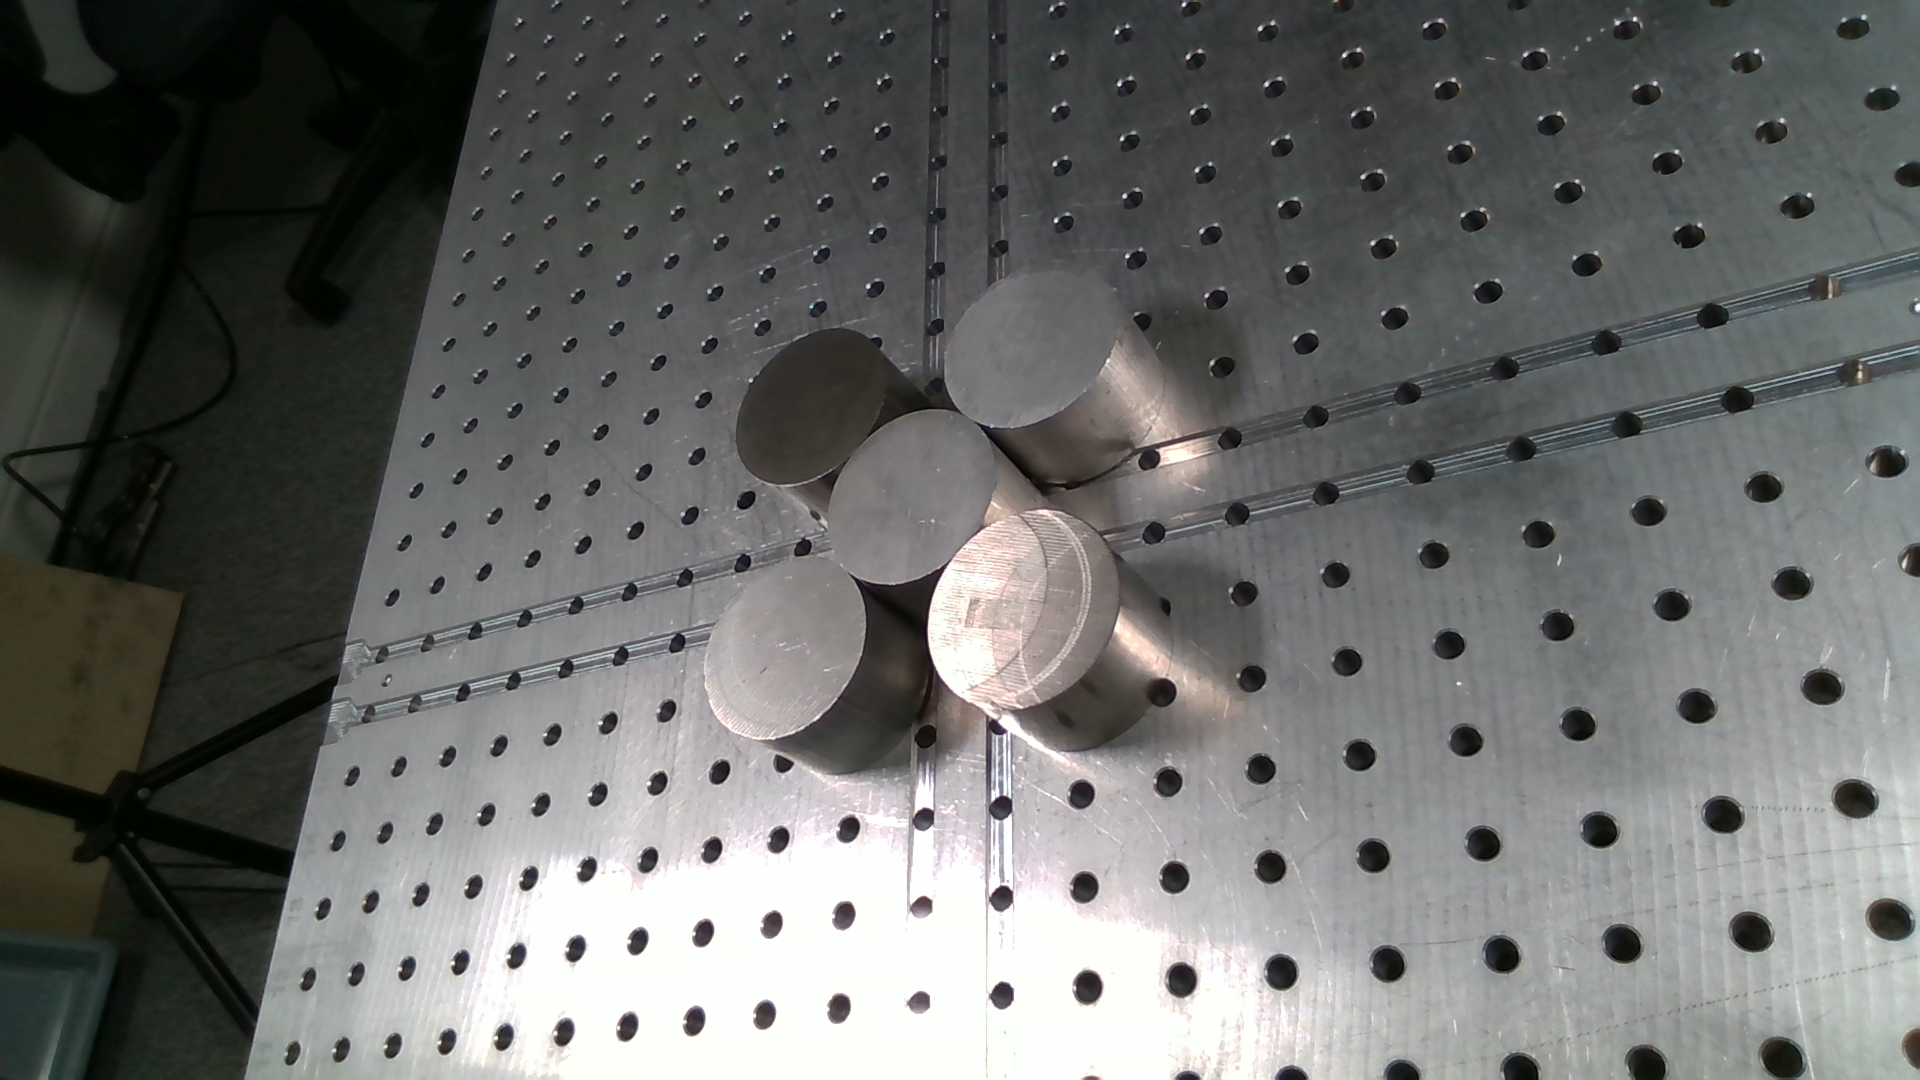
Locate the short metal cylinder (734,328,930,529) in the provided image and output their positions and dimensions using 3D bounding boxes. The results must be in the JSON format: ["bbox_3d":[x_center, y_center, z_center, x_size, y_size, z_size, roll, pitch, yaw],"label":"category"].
[{"bbox_3d":[-0.056,-0.050,0.632,0.080,0.050,0.080,-14,59,25],"label":"short metal cylinder"}]

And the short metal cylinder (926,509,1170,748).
[{"bbox_3d":[0.034,0.035,0.530,0.080,0.050,0.080,-14,59,25],"label":"short metal cylinder"}]

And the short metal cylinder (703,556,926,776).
[{"bbox_3d":[-0.061,0.054,0.581,0.080,0.050,0.080,-14,59,25],"label":"short metal cylinder"}]

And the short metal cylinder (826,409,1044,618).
[{"bbox_3d":[-0.009,-0.008,0.582,0.080,0.050,0.080,-14,59,25],"label":"short metal cylinder"}]

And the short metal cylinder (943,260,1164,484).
[{"bbox_3d":[0.040,-0.071,0.584,0.080,0.050,0.080,-14,59,25],"label":"short metal cylinder"}]
